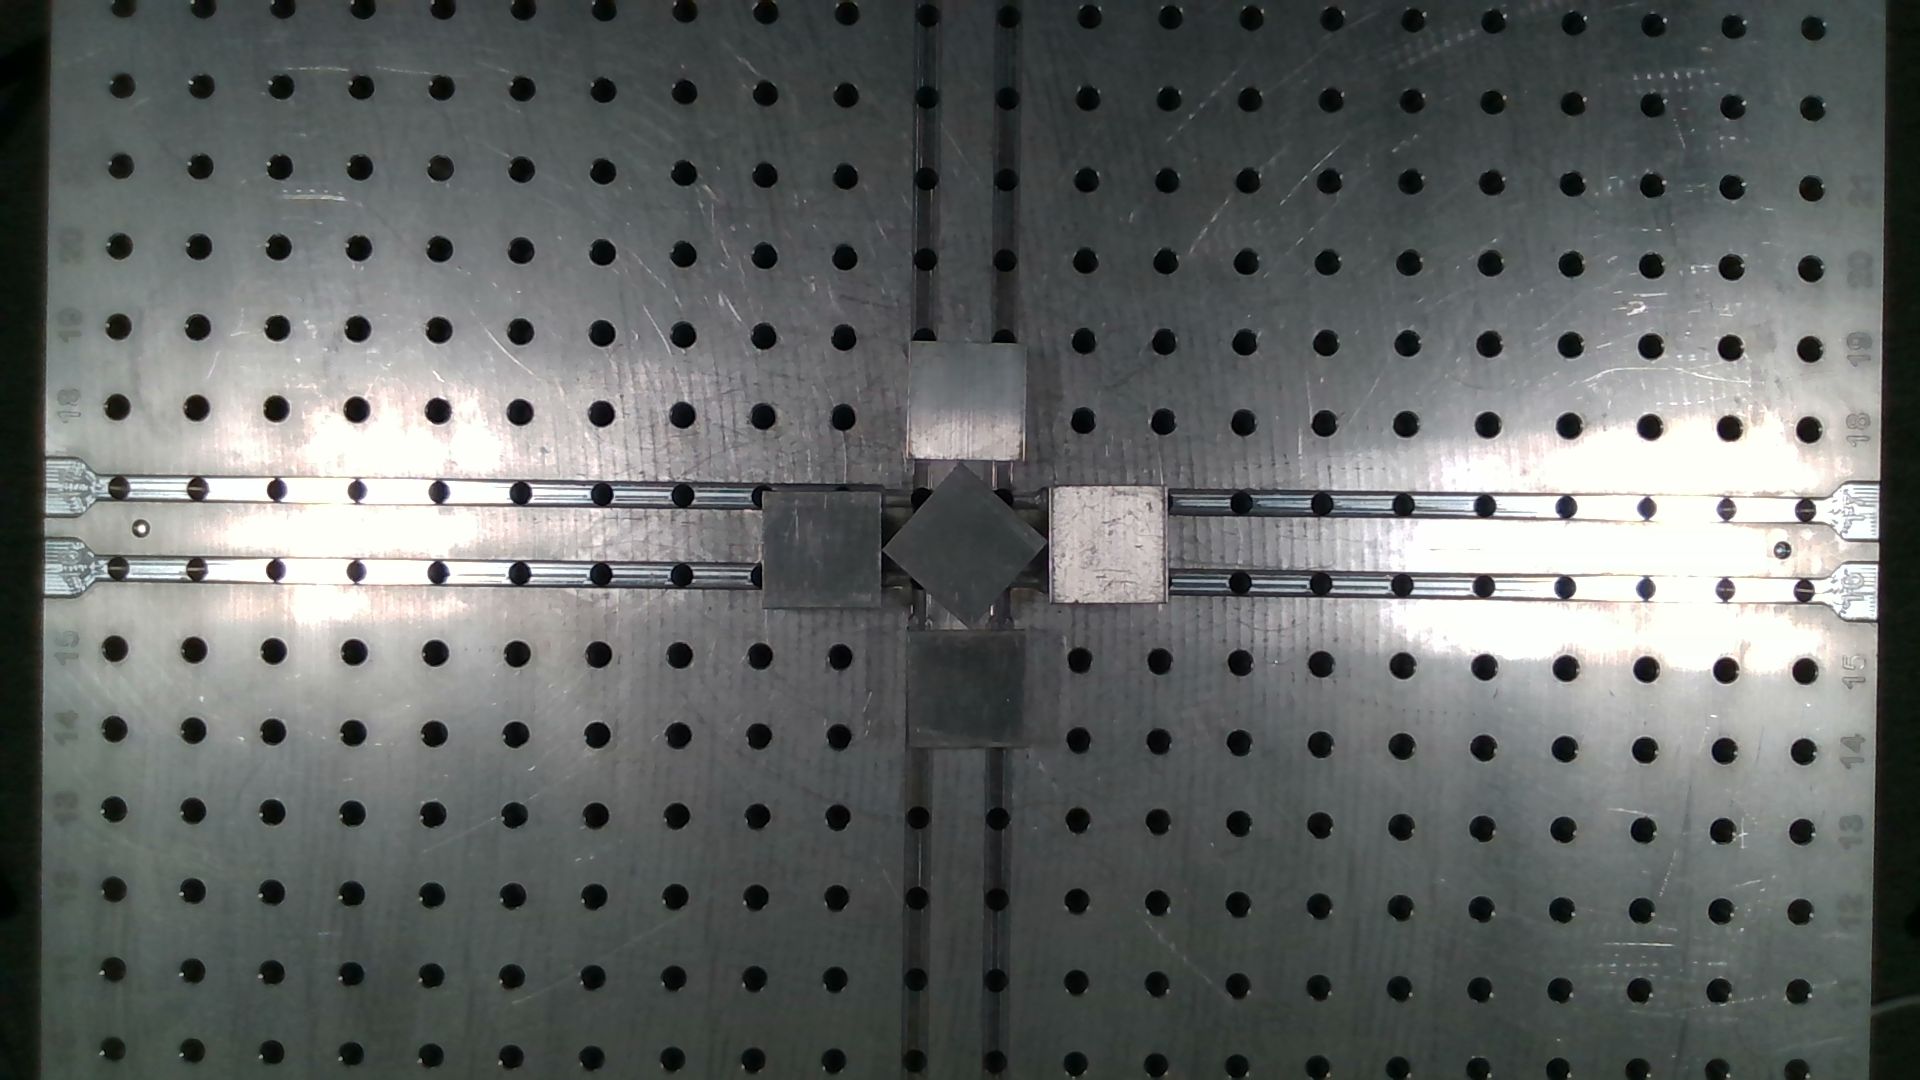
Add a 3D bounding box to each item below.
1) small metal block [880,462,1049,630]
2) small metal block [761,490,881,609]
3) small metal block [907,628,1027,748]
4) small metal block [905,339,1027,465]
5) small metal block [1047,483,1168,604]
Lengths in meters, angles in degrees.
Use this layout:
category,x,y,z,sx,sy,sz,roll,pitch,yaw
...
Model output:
category,x,y,z,sx,sy,sz,roll,pitch,yaw
small metal block,0.002,0.002,0.589,0.050,0.025,0.050,42,90,0
small metal block,-0.059,0.004,0.589,0.050,0.025,0.050,0,90,0
small metal block,0.003,0.062,0.590,0.050,0.025,0.050,0,90,0
small metal block,0.003,-0.058,0.589,0.050,0.025,0.050,1,90,0
small metal block,0.062,0.002,0.589,0.050,0.025,0.050,-1,90,0
